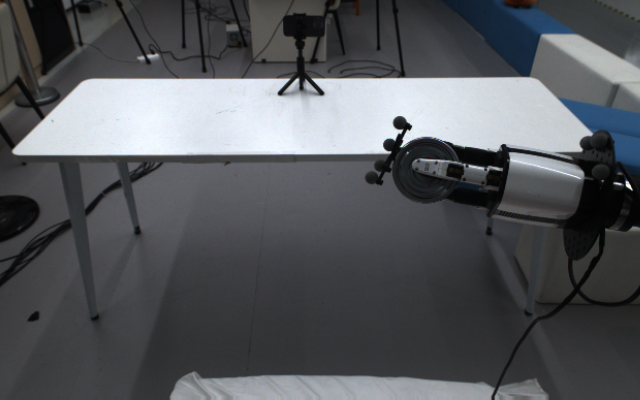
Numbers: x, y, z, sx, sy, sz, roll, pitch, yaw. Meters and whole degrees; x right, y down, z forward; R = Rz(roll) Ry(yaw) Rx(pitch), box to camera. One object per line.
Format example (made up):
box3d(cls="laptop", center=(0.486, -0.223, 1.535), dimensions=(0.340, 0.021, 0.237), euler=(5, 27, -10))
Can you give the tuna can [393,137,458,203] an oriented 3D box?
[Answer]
box3d(cls="tuna can", center=(0.138, -0.041, 0.626), dimensions=(0.085, 0.085, 0.034), euler=(9, 4, 10))
